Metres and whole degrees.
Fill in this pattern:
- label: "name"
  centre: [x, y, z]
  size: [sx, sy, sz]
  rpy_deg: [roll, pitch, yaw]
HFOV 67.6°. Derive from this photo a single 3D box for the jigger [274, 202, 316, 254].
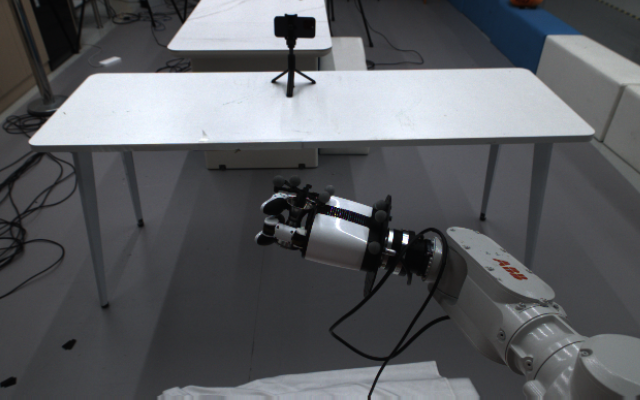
- label: "jigger"
  centre: [-0.037, 0.035, 0.732]
  size: [0.043, 0.071, 0.043]
  rpy_deg: [15, 17, -5]
